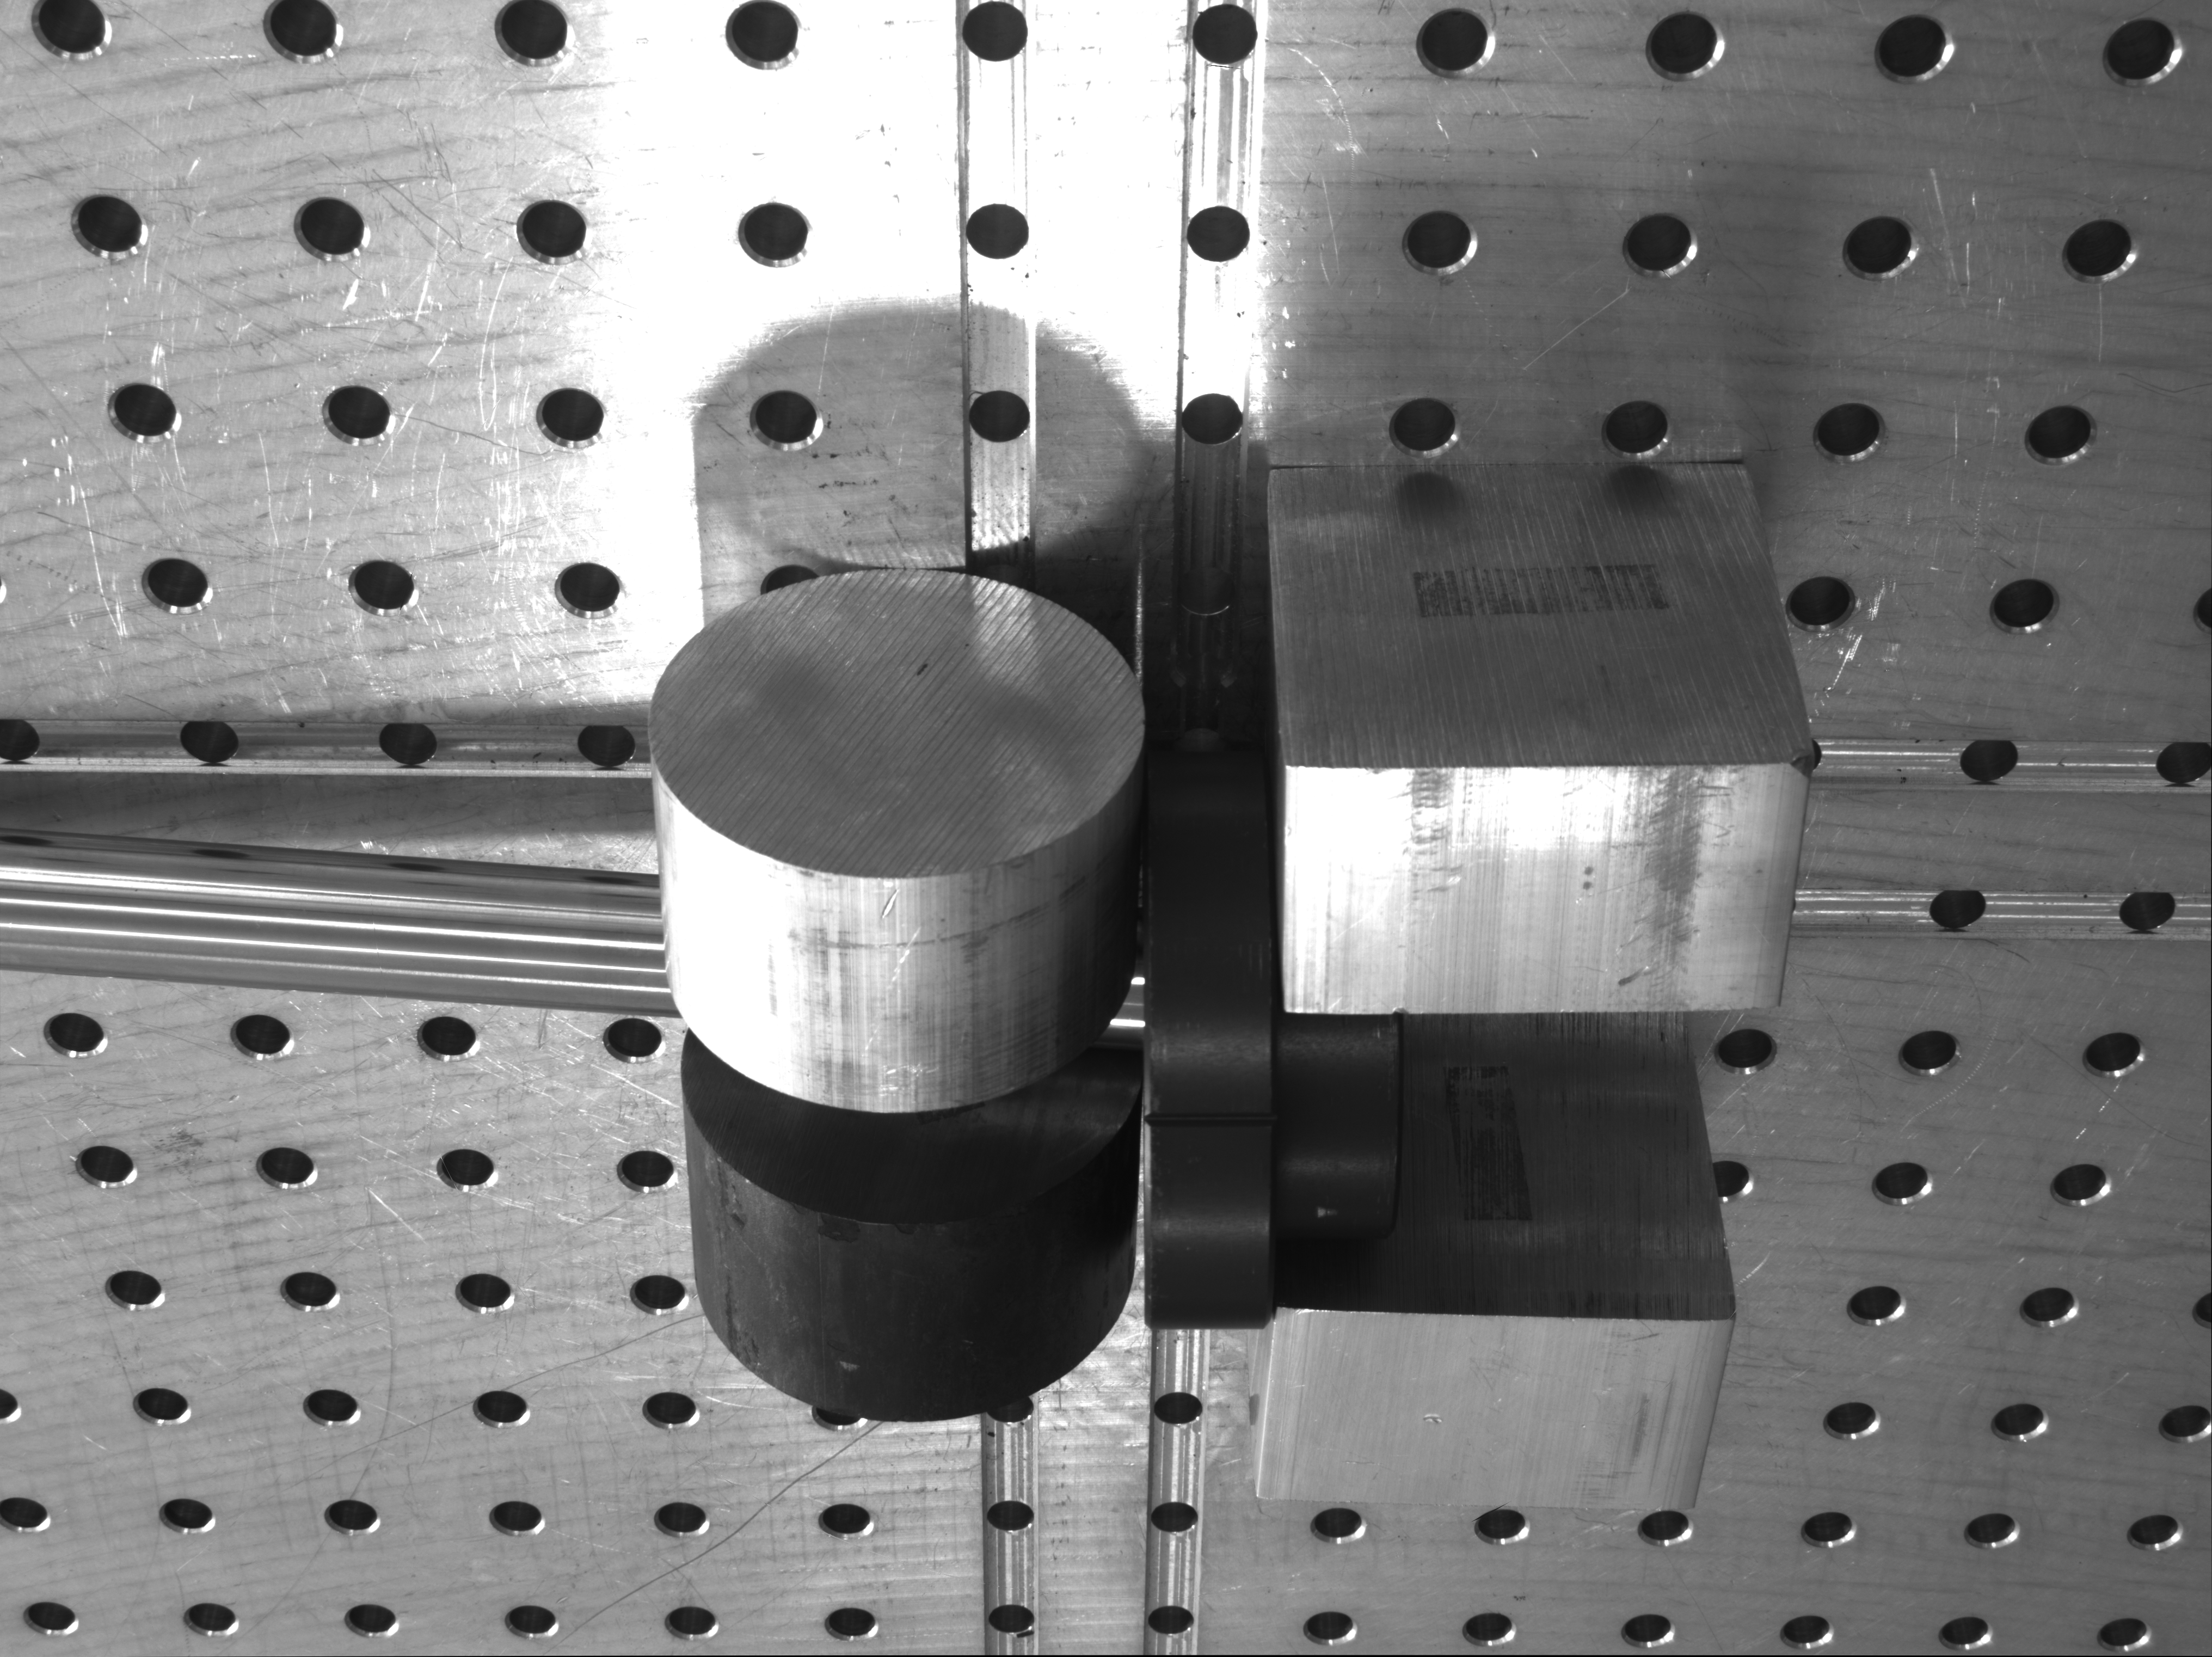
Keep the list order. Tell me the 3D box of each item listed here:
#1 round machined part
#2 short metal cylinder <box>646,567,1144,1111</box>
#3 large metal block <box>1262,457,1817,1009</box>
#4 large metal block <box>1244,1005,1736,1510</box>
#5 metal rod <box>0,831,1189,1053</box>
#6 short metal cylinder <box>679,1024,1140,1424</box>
[{"bbox_3d":[0.028,0.036,0.624,0.042,0.098,0.098,1,130,0],"label":"round machined part"},{"bbox_3d":[-0.034,0.001,0.607,0.080,0.080,0.050,1,130,0],"label":"short metal cylinder"},{"bbox_3d":[0.066,-0.017,0.594,0.080,0.080,0.050,0,130,0],"label":"large metal block"},{"bbox_3d":[0.067,0.076,0.671,0.080,0.080,0.050,2,130,-2],"label":"large metal block"},{"bbox_3d":[-0.116,0.018,0.642,0.300,0.025,0.025,4,130,2],"label":"metal rod"},{"bbox_3d":[-0.035,0.059,0.655,0.080,0.080,0.050,1,130,-1],"label":"short metal cylinder"}]
